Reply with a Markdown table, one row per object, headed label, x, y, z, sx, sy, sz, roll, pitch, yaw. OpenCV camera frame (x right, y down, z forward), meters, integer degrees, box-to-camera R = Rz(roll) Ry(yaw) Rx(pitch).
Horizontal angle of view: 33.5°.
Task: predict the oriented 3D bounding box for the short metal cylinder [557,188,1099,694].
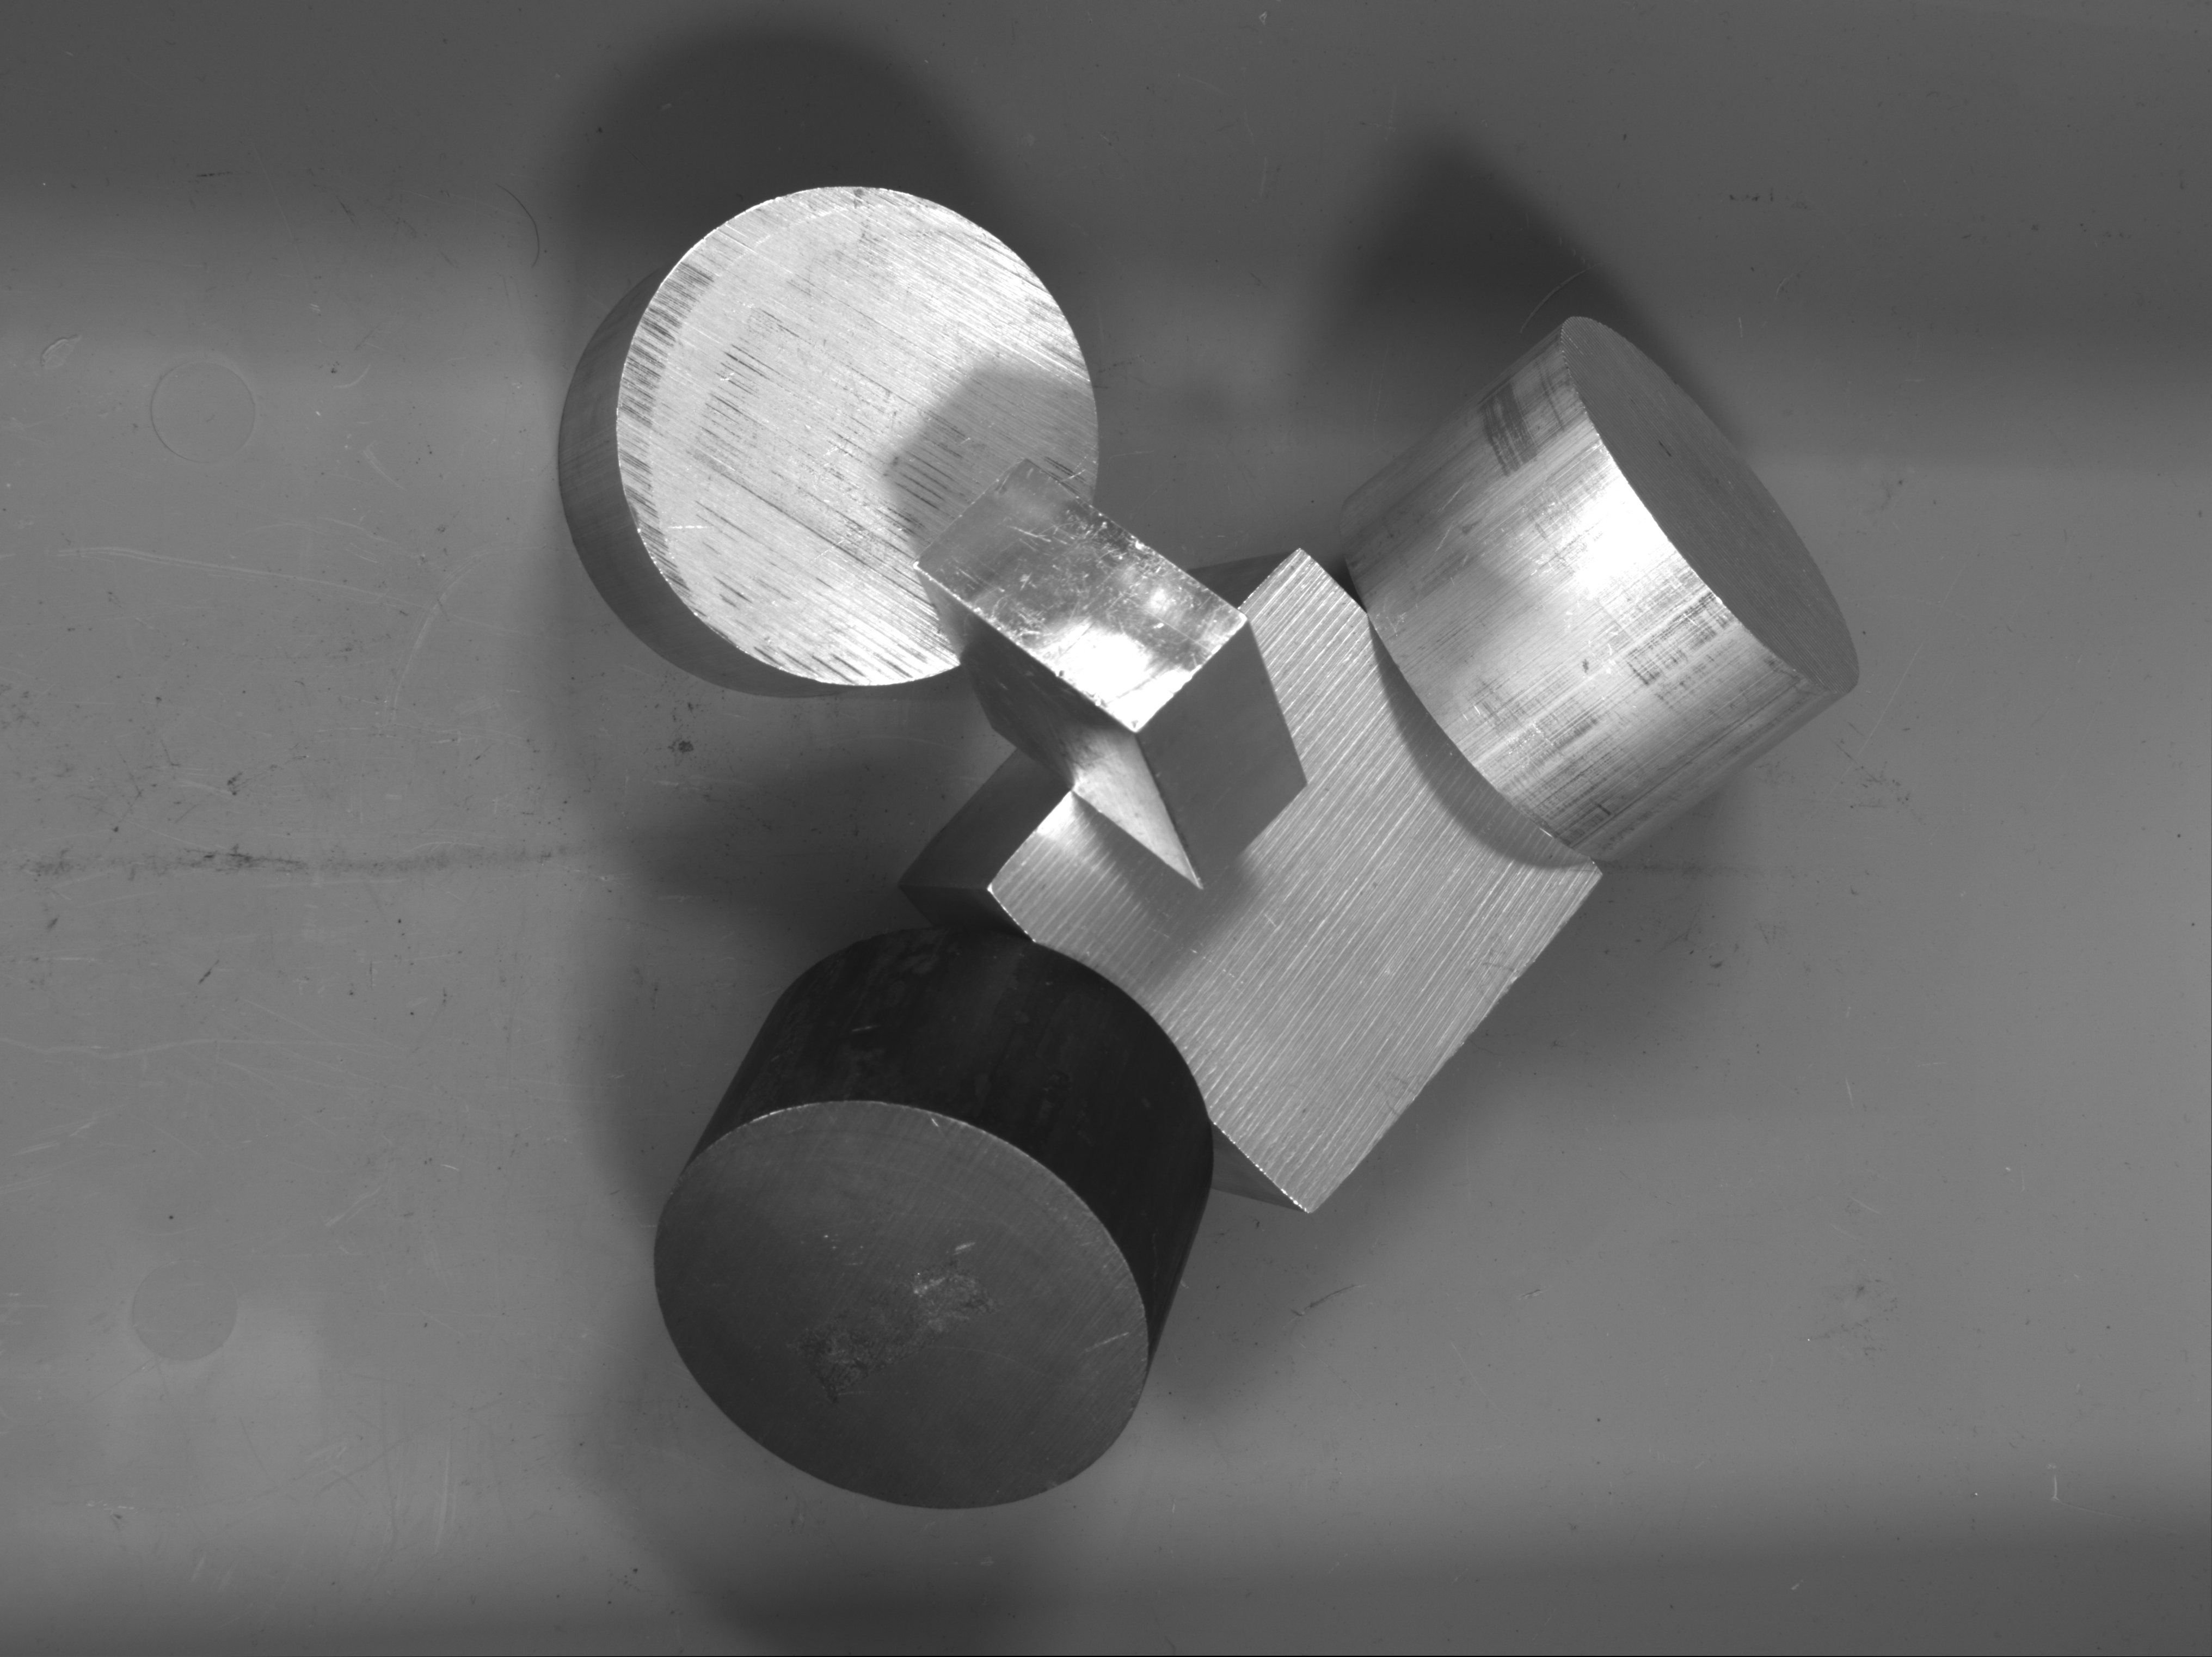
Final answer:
| label | x | y | z | sx | sy | sz | roll | pitch | yaw |
| --- | --- | --- | --- | --- | --- | --- | --- | --- | --- |
| short metal cylinder | -0.047 | -0.063 | 0.612 | 0.080 | 0.050 | 0.080 | 0 | 90 | -20 |

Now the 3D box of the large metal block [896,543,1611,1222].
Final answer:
| label | x | y | z | sx | sy | sz | roll | pitch | yaw |
| --- | --- | --- | --- | --- | --- | --- | --- | --- | --- |
| large metal block | 0.025 | 0.009 | 0.636 | 0.080 | 0.050 | 0.080 | 46 | 76 | -14 |

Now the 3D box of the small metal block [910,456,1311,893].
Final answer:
| label | x | y | z | sx | sy | sz | roll | pitch | yaw |
| --- | --- | --- | --- | --- | --- | --- | --- | --- | --- |
| small metal block | 0.001 | -0.024 | 0.577 | 0.050 | 0.050 | 0.025 | 37 | 76 | 29 |

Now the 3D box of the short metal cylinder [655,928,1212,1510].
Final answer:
| label | x | y | z | sx | sy | sz | roll | pitch | yaw |
| --- | --- | --- | --- | --- | --- | --- | --- | --- | --- |
| short metal cylinder | -0.027 | 0.063 | 0.597 | 0.080 | 0.050 | 0.080 | 7 | 122 | 11 |

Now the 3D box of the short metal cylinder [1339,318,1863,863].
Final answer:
| label | x | y | z | sx | sy | sz | roll | pitch | yaw |
| --- | --- | --- | --- | --- | --- | --- | --- | --- | --- |
| short metal cylinder | 0.086 | -0.041 | 0.637 | 0.050 | 0.080 | 0.080 | -38 | 106 | 24 |
